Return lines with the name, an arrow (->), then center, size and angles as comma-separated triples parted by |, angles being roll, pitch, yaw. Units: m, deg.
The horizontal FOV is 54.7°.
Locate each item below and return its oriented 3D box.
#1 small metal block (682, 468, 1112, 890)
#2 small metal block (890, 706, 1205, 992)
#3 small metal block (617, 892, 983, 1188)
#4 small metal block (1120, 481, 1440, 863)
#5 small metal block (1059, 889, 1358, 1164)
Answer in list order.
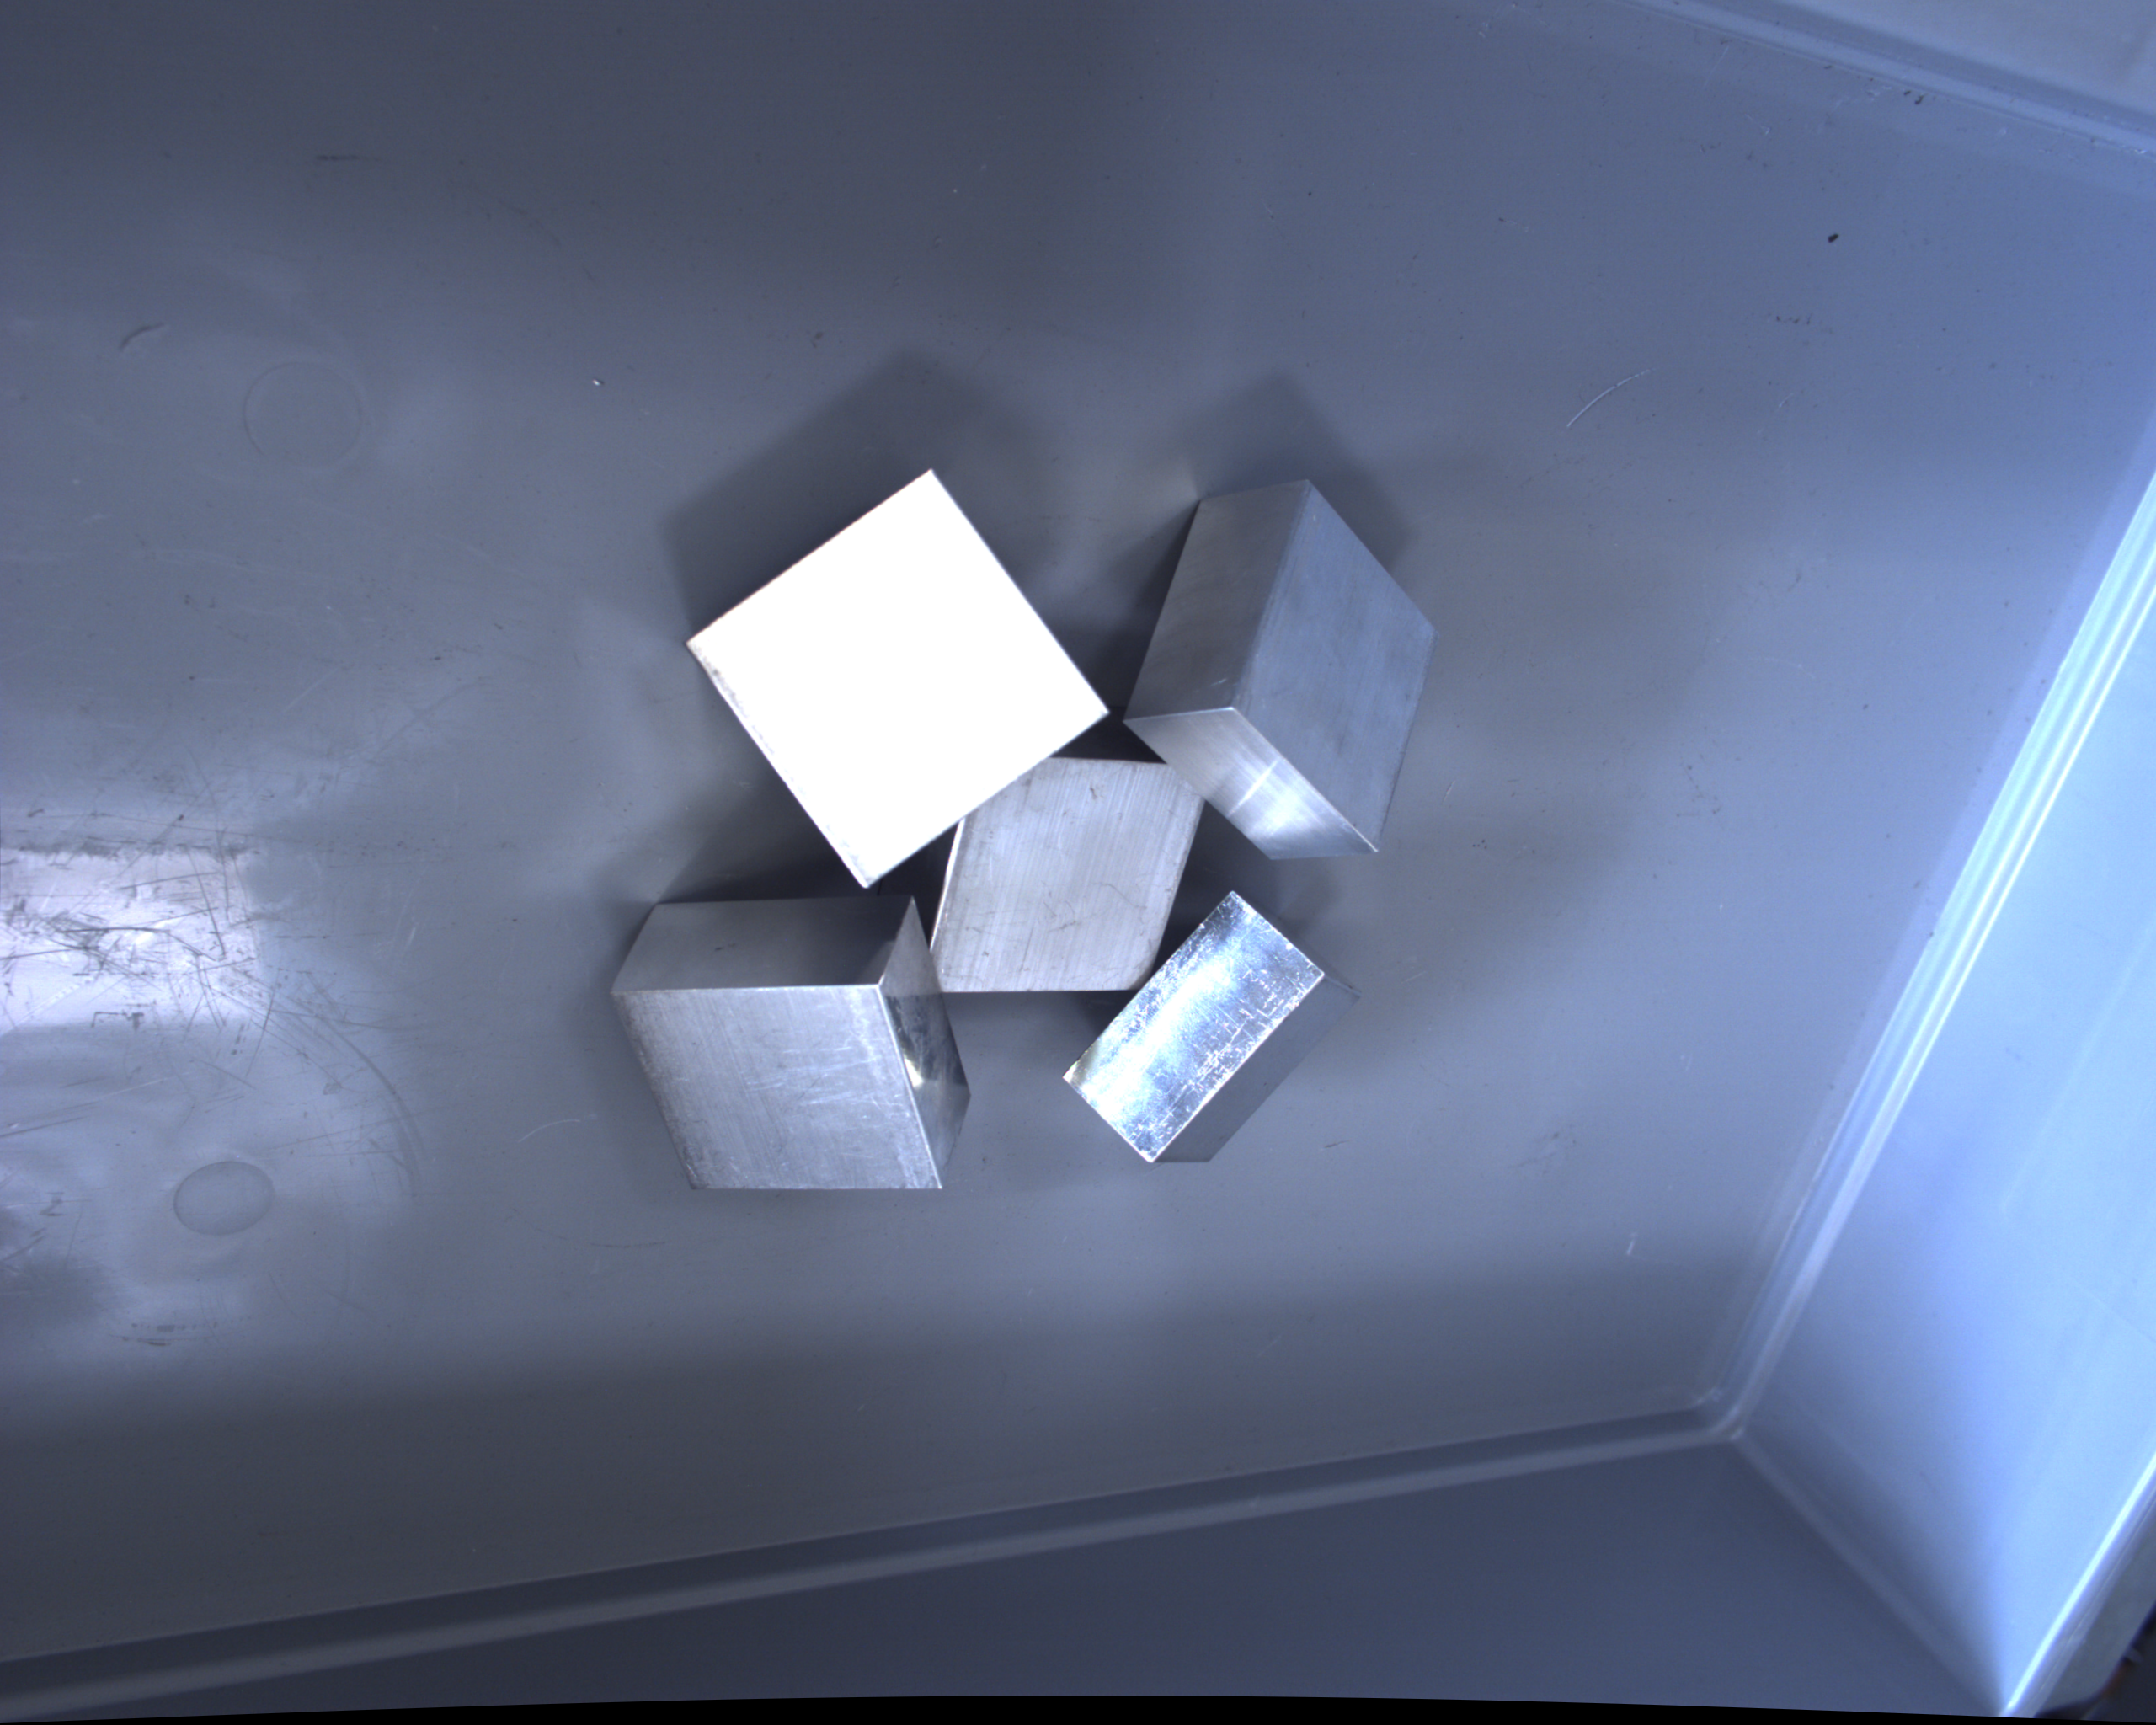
small metal block -> -0.030, -0.030, 0.355 | 0.050, 0.025, 0.050 | -36, 92, -3
small metal block -> -0.007, -0.003, 0.400 | 0.050, 0.025, 0.050 | 1, 118, -29
small metal block -> -0.050, 0.033, 0.384 | 0.050, 0.025, 0.050 | -1, 128, 16
small metal block -> 0.039, -0.034, 0.390 | 0.050, 0.025, 0.050 | 40, 58, -39
small metal block -> 0.029, 0.035, 0.429 | 0.050, 0.025, 0.050 | -48, 163, 5
